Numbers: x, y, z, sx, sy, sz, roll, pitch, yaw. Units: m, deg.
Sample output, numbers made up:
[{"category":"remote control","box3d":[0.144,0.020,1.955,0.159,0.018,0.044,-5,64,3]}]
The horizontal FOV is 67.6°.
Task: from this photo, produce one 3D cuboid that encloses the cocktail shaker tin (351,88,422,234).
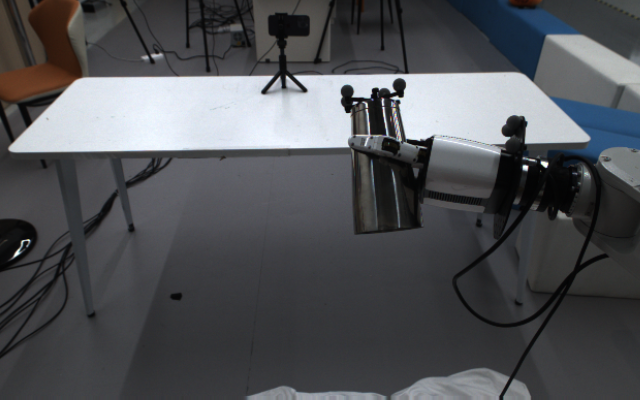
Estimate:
[{"category":"cocktail shaker tin","box3d":[0.083,-0.043,0.647,0.093,0.170,0.093,-6,-7,-1]}]
